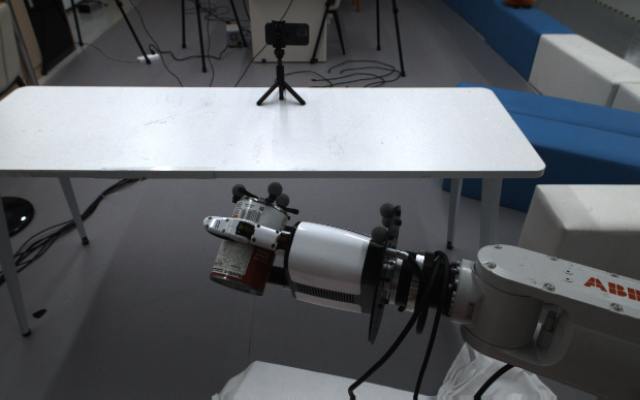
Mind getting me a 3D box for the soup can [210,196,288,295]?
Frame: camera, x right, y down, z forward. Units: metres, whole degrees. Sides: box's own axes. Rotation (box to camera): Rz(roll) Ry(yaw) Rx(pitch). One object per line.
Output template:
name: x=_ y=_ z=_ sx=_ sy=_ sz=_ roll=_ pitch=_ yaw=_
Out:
soup can: x=-0.082 y=0.056 z=0.580 sx=0.067 sy=0.067 sz=0.101 roll=12 pitch=70 yaw=14
